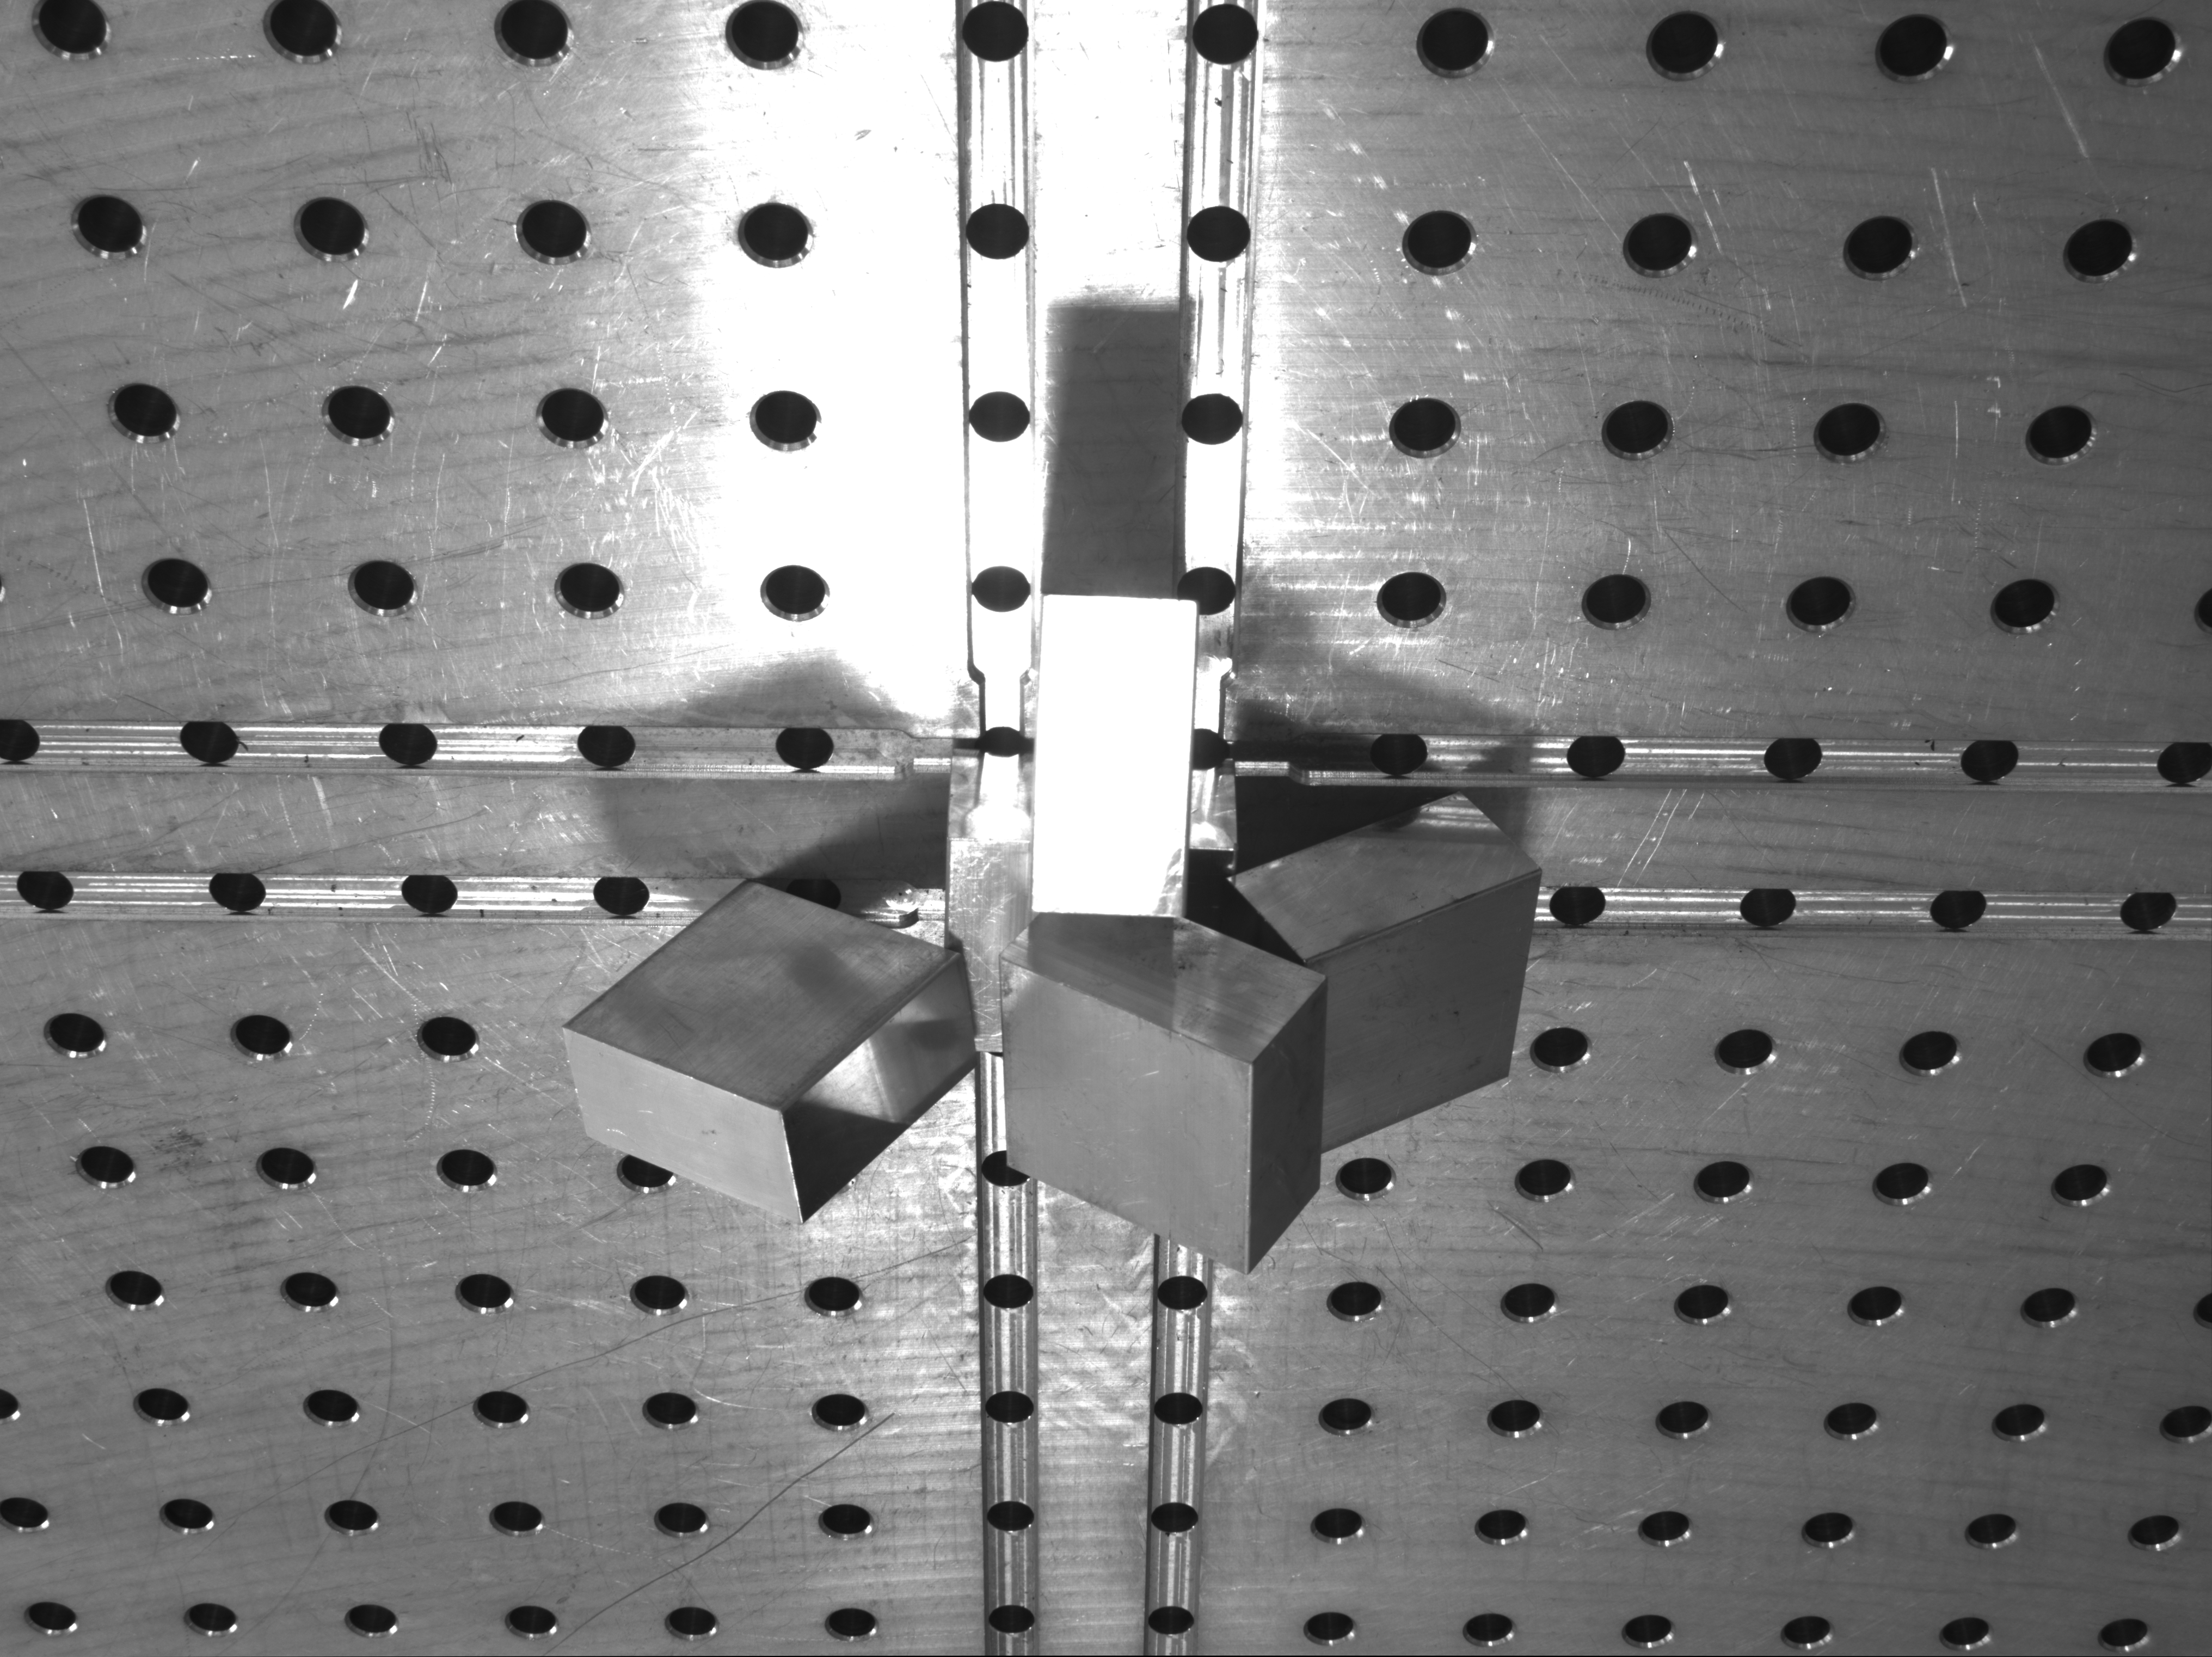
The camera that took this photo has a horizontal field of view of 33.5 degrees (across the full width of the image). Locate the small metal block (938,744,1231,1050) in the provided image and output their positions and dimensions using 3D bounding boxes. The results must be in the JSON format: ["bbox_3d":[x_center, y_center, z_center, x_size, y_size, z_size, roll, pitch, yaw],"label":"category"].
[{"bbox_3d":[-0.004,0.013,0.654,0.050,0.025,0.050,2,130,-1],"label":"small metal block"}]

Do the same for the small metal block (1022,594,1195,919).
[{"bbox_3d":[0.000,-0.013,0.602,0.025,0.050,0.050,3,94,-1],"label":"small metal block"}]

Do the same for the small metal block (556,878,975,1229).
[{"bbox_3d":[-0.059,0.038,0.645,0.050,0.050,0.025,18,131,31],"label":"small metal block"}]

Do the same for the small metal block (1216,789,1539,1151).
[{"bbox_3d":[0.046,0.027,0.651,0.050,0.025,0.050,-19,135,-25],"label":"small metal block"}]

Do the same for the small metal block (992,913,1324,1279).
[{"bbox_3d":[0.009,0.042,0.631,0.050,0.025,0.050,22,135,25],"label":"small metal block"}]
